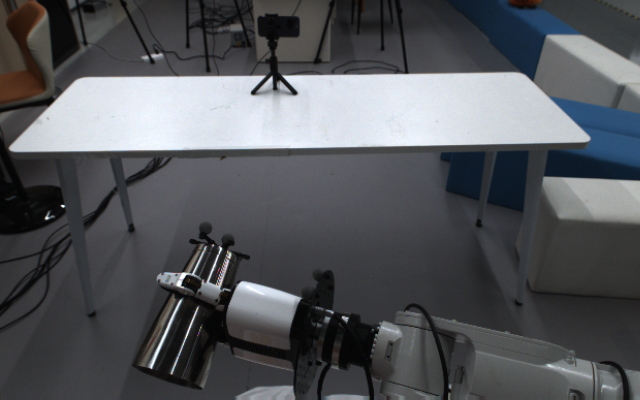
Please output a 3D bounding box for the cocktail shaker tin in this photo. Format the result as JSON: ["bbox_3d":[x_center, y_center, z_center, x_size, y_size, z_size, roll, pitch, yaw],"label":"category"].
[{"bbox_3d":[-0.161,0.147,0.629,0.093,0.093,0.170,9,59,10],"label":"cocktail shaker tin"}]
